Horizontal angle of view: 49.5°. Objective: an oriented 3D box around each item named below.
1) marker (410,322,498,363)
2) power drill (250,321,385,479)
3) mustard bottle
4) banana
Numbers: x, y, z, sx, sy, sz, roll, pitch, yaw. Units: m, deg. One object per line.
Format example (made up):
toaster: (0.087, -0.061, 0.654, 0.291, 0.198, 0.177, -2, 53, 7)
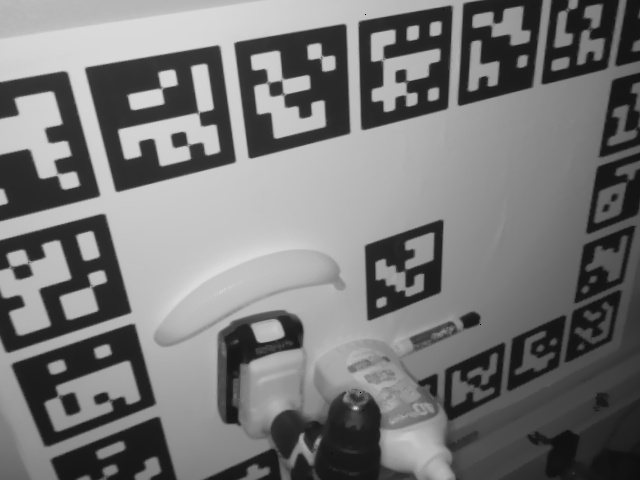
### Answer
marker: (0.167, 0.124, 0.848, 0.123, 0.019, 0.019, -14, 118, -23)
power drill: (-0.005, 0.158, 0.644, 0.058, 0.186, 0.183, -1, 116, -25)
mustard bottle: (0.088, 0.181, 0.726, 0.097, 0.190, 0.058, -4, 116, -25)
banana: (-0.042, 0.040, 0.686, 0.200, 0.038, 0.073, -9, 115, -27)
